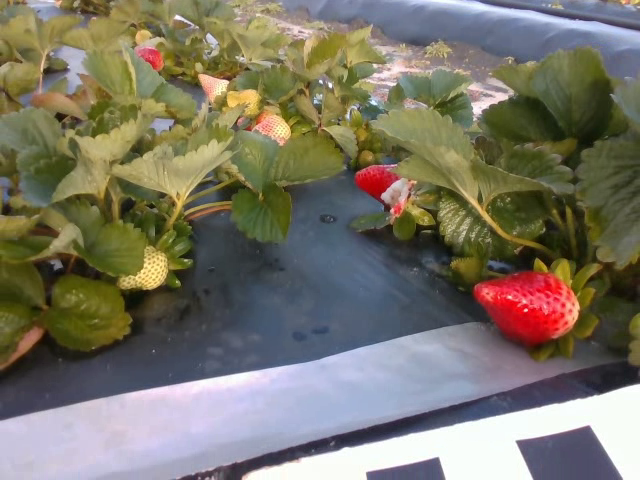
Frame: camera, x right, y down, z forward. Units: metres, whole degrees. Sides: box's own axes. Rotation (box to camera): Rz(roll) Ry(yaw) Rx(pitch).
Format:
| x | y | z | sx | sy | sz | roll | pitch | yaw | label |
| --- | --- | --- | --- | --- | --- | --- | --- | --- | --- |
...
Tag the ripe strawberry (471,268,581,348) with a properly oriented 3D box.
| x | y | z | sx | sy | sz | roll | pitch | yaw | label |
| --- | --- | --- | --- | --- | --- | --- | --- | --- | --- |
| 0.083 | 0.025 | 0.251 | 0.055 | 0.036 | 0.050 | -1 | 33 | -13 | ripe strawberry |
